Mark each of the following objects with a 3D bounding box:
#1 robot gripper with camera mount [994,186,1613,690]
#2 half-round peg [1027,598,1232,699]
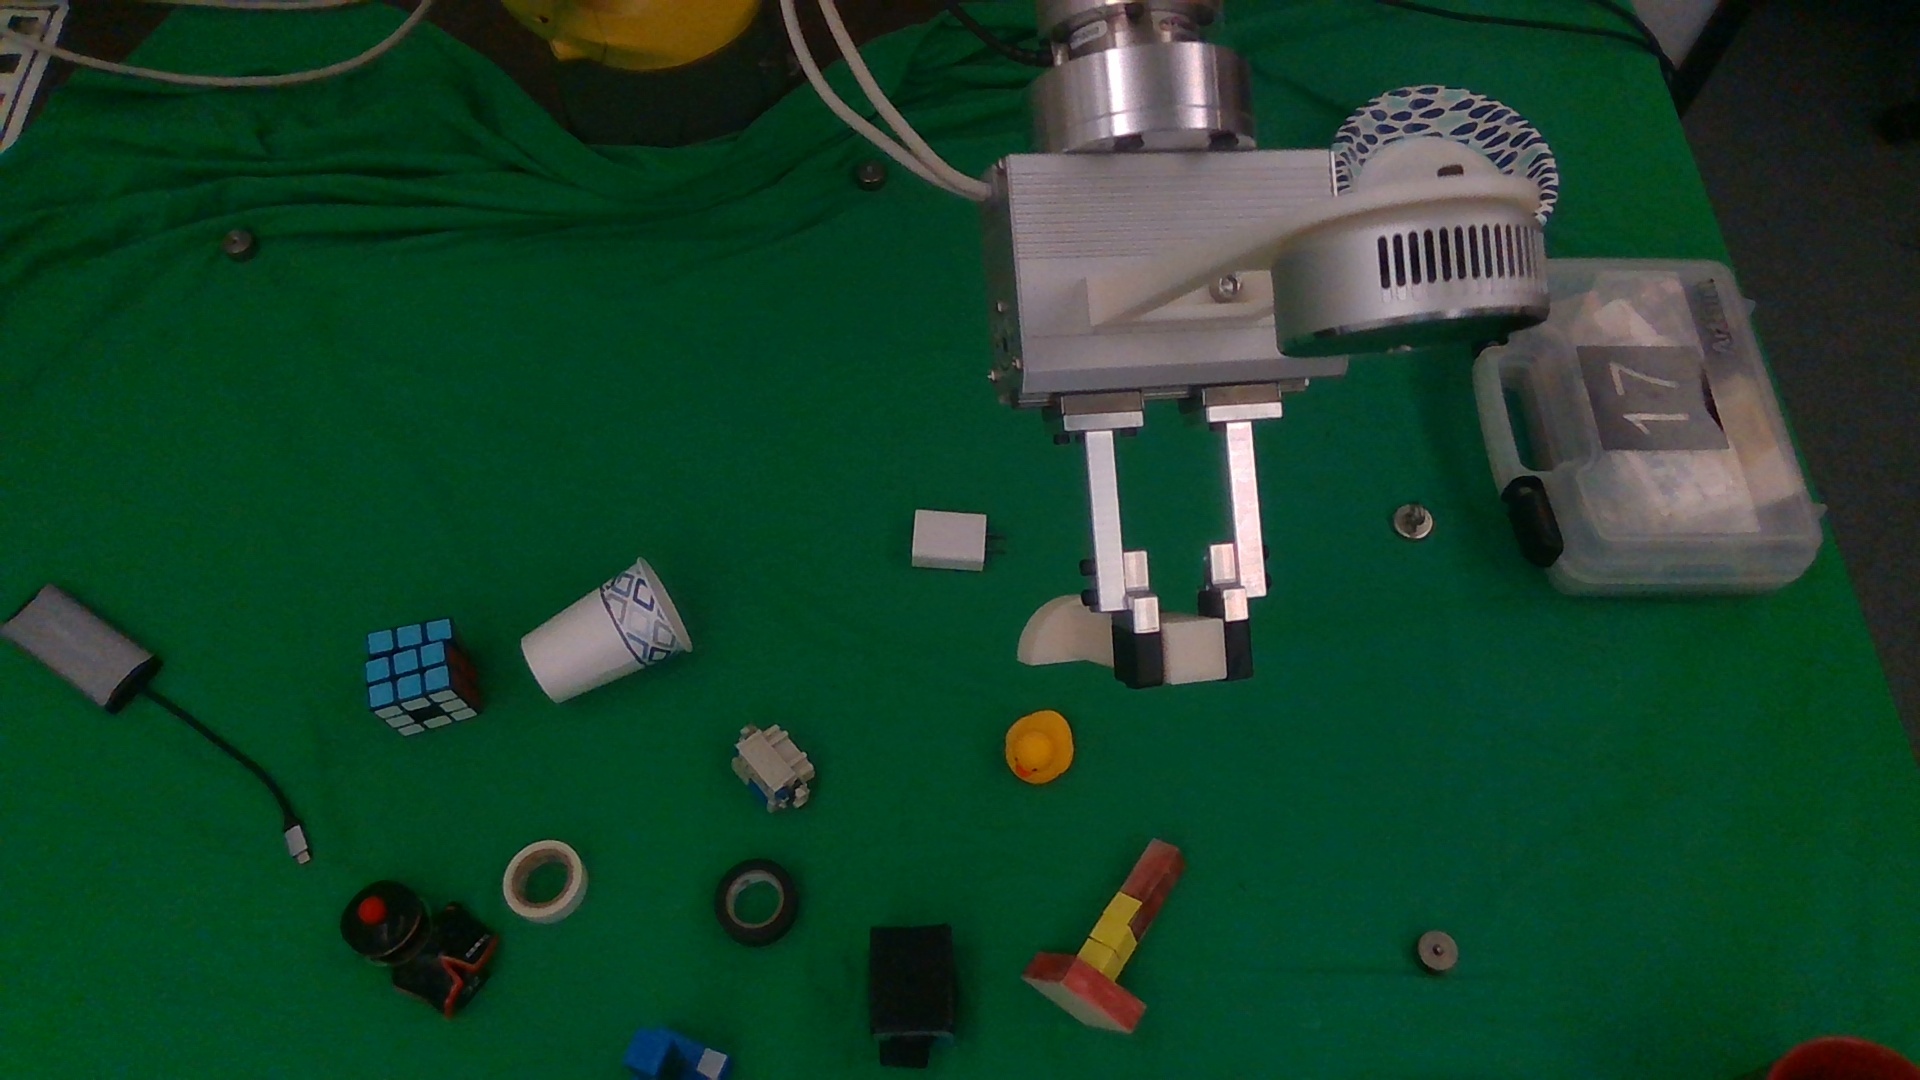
[{"bbox_3d":[0.101,-0.033,0.380,0.119,0.194,0.158,-4,91,-18],"label":"robot gripper with camera mount"},{"bbox_3d":[0.066,0.040,0.510,0.054,0.122,0.031,-5,92,-15],"label":"half-round peg"}]
